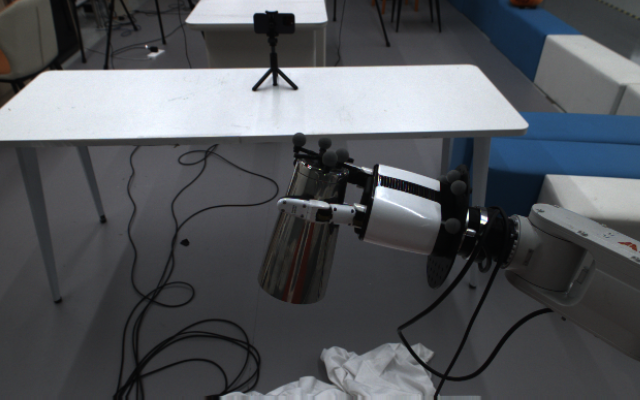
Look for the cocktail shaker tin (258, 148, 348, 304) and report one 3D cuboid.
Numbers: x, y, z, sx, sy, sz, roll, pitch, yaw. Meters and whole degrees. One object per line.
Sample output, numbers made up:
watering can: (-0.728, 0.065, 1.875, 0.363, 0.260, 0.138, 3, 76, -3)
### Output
cocktail shaker tin: (-0.014, 0.032, 0.617, 0.093, 0.170, 0.093, 14, 19, -5)
